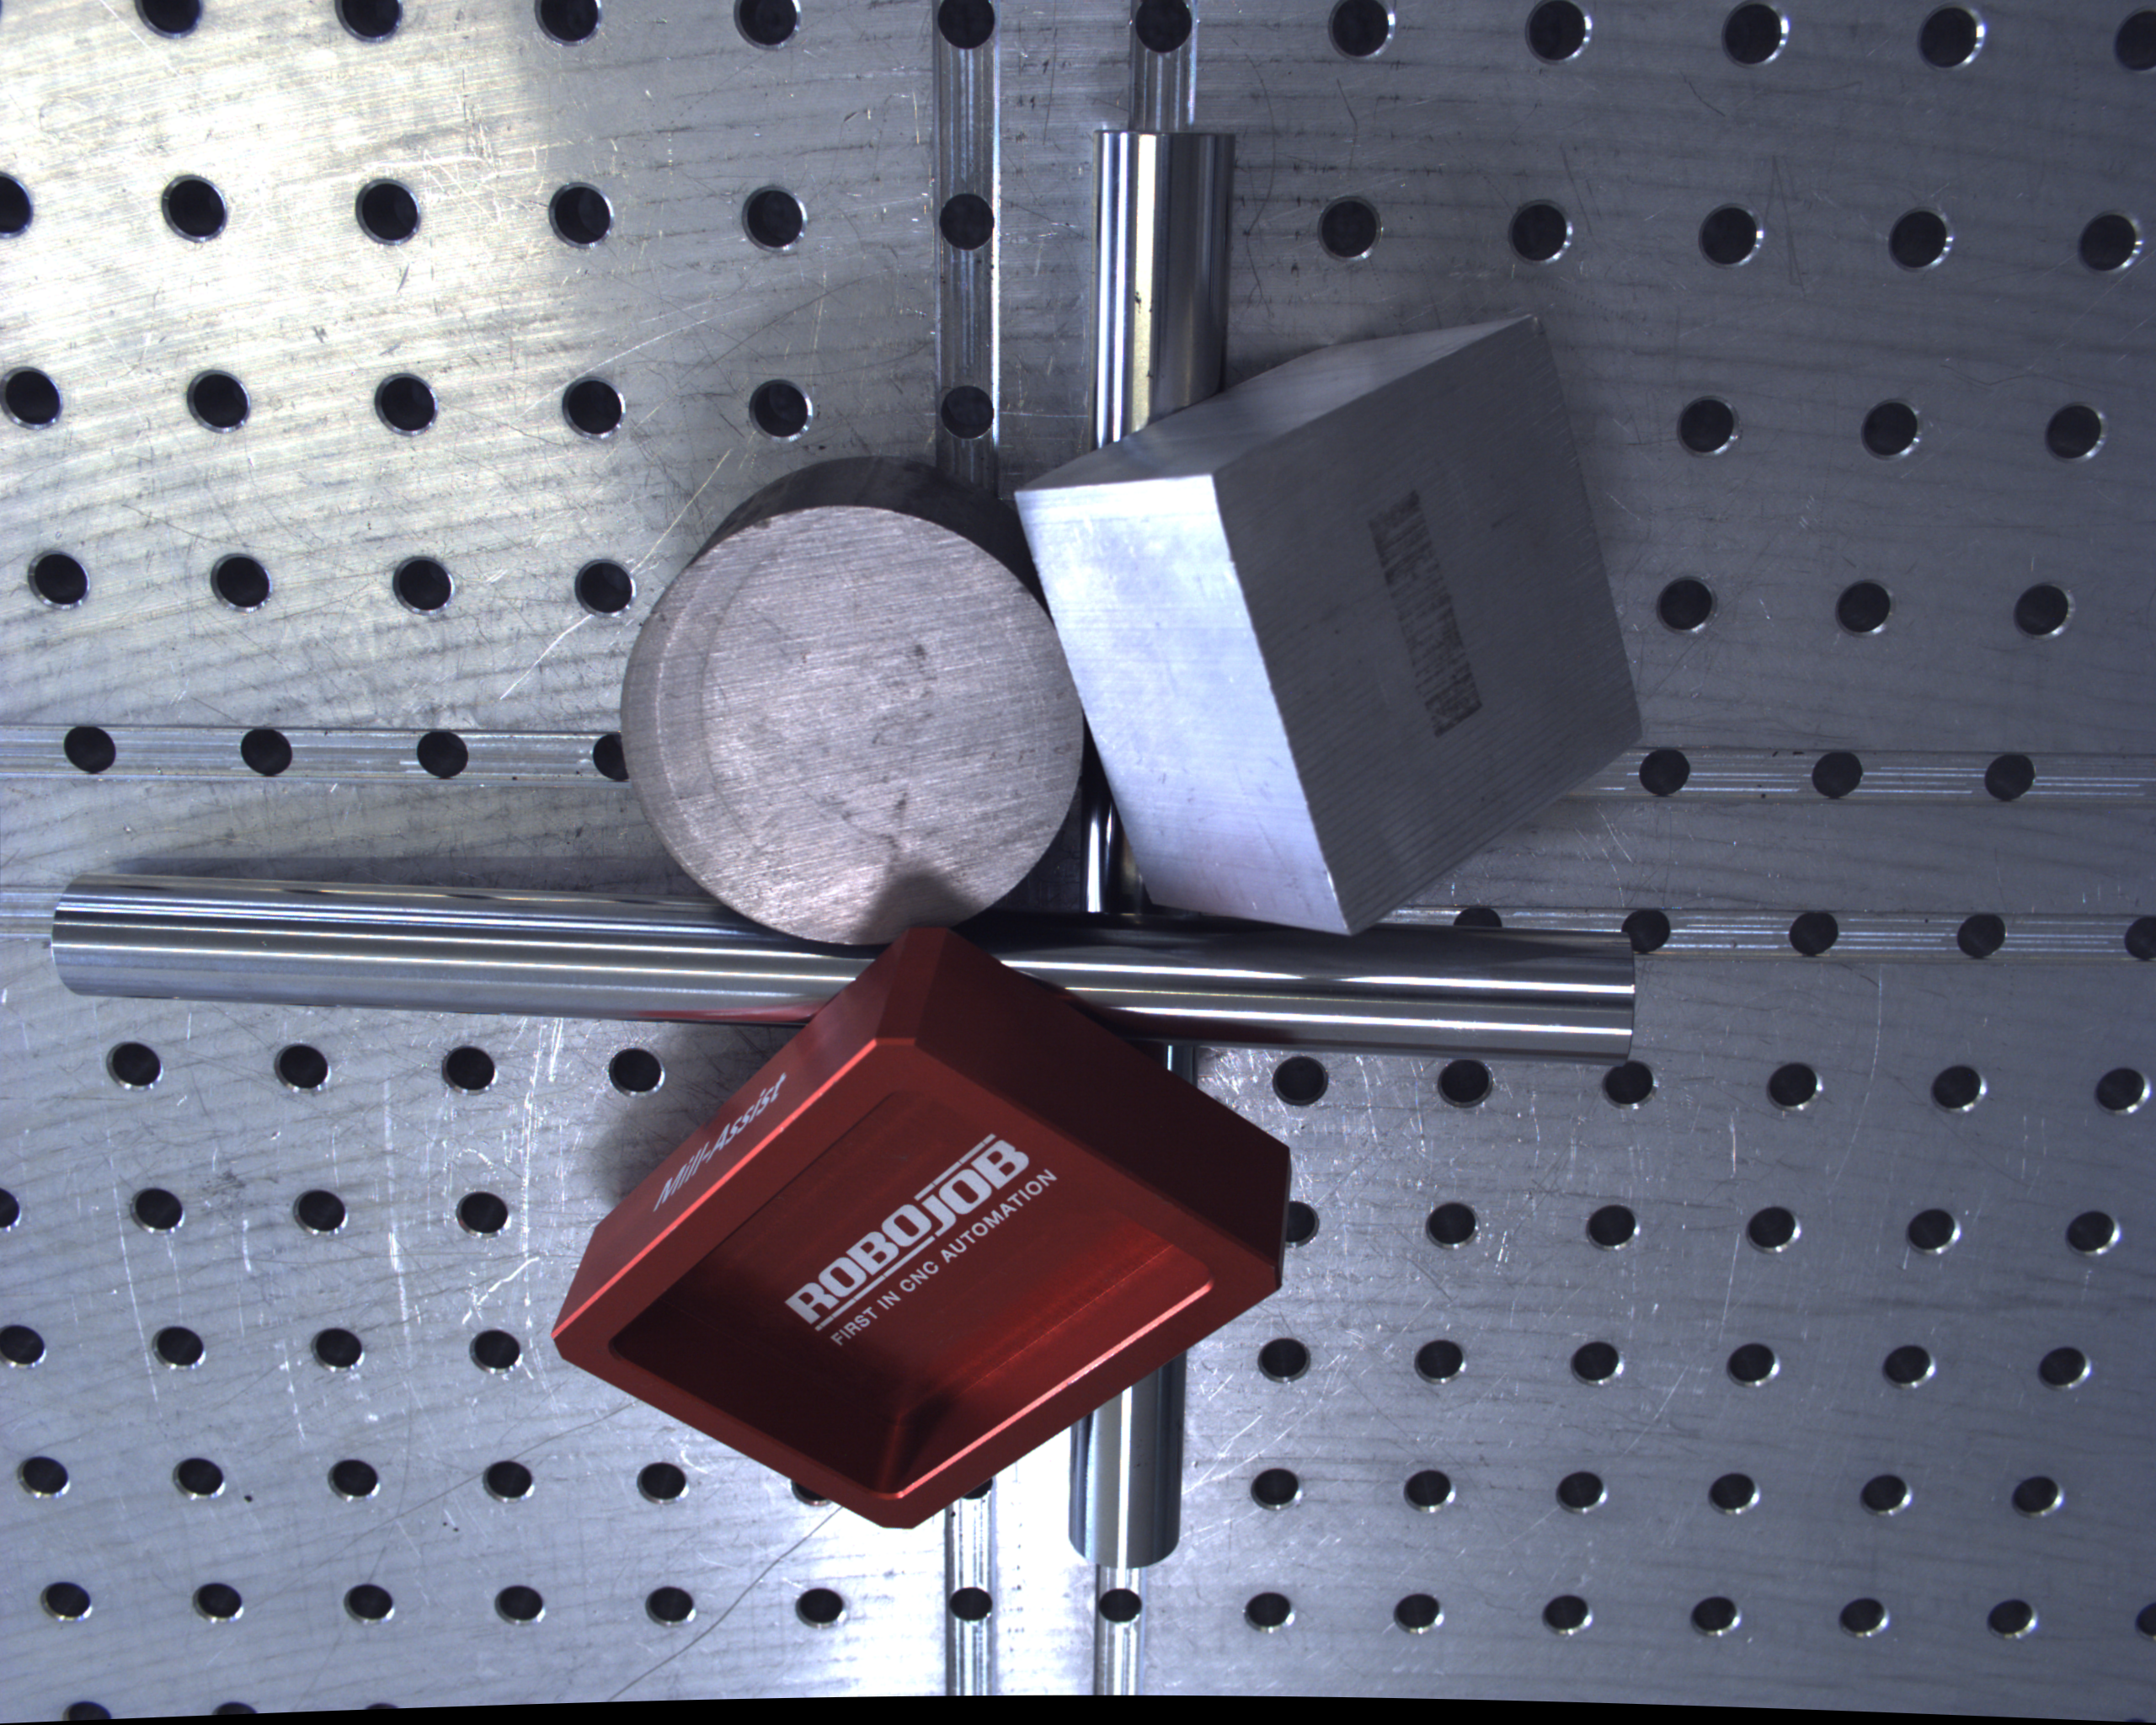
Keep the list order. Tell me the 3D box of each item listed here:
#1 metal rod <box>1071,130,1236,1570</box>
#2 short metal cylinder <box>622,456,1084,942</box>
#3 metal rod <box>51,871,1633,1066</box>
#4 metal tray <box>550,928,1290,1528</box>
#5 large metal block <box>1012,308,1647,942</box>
[{"bbox_3d":[0.013,0.011,0.417,0.025,0.025,0.298,1,110,-1],"label":"metal rod"},{"bbox_3d":[-0.039,-0.032,0.388,0.081,0.050,0.079,0,110,0],"label":"short metal cylinder"},{"bbox_3d":[-0.049,0.020,0.402,0.302,0.025,0.025,2,110,6],"label":"metal rod"},{"bbox_3d":[-0.033,0.077,0.411,0.090,0.030,0.129,34,127,-18],"label":"metal tray"},{"bbox_3d":[0.046,-0.042,0.364,0.081,0.050,0.080,-31,113,-31],"label":"large metal block"}]
